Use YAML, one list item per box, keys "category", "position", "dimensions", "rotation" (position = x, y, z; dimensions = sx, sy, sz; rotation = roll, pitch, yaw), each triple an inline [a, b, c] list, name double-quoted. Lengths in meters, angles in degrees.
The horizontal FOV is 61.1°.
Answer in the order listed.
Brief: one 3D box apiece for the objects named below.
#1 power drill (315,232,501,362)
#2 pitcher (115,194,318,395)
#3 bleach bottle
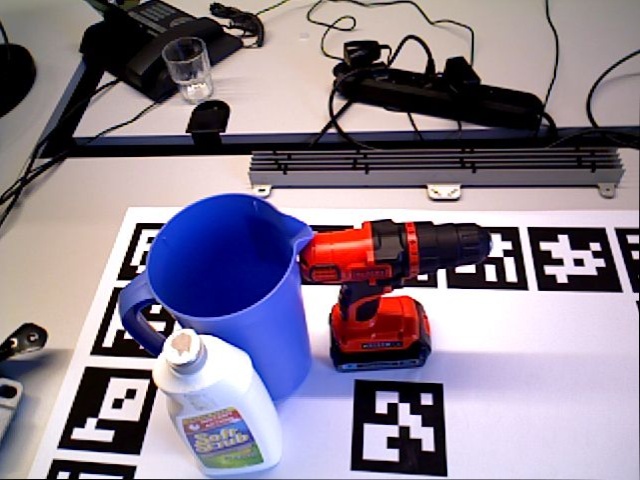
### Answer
- category: "power drill"
  position: [0.086, 0.060, 0.538]
  dimensions: [0.184, 0.190, 0.056]
  rotation: [-1, 57, -1]
- category: "pitcher"
  position: [-0.082, 0.071, 0.542]
  dimensions: [0.187, 0.247, 0.132]
  rotation: [-22, 56, -9]
- category: "bleach bottle"
  position: [-0.100, 0.141, 0.470]
  dimensions: [0.102, 0.255, 0.067]
  rotation: [-6, 54, 2]
